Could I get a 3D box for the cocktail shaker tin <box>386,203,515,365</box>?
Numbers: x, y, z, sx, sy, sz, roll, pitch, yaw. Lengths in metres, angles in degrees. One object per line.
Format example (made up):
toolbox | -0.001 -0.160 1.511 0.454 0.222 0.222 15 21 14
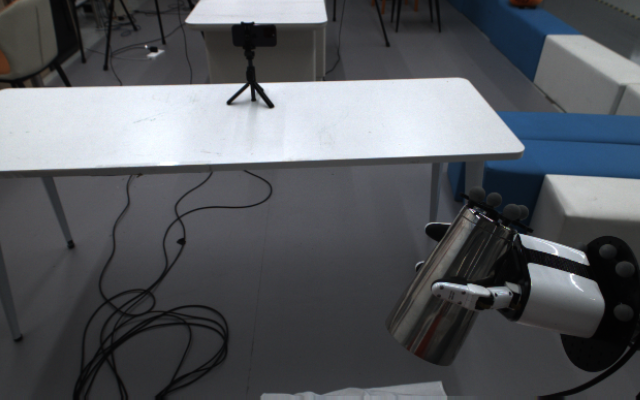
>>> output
cocktail shaker tin | 0.159 0.092 0.566 0.093 0.170 0.093 24 13 -6
